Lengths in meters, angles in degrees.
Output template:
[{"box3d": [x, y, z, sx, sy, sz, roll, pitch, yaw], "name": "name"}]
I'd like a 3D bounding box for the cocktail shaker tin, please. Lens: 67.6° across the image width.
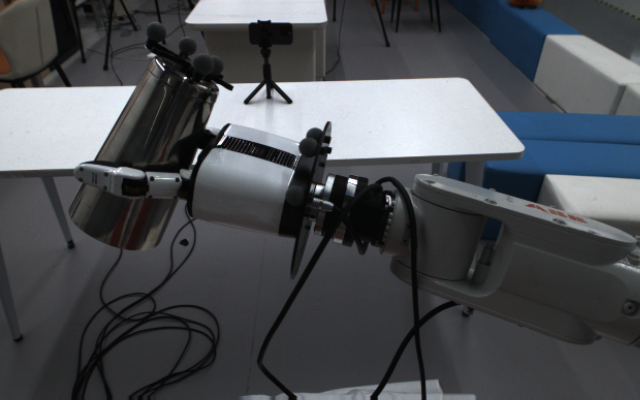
[{"box3d": [-0.163, -0.048, 0.470, 0.093, 0.170, 0.093, 28, 14, -7], "name": "cocktail shaker tin"}]
